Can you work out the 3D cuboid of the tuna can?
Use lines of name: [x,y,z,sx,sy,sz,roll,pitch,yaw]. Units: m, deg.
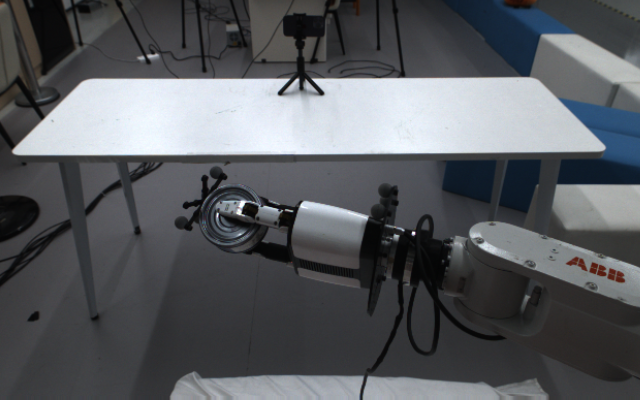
tuna can: [-0.107,0.027,0.617,0.085,0.034,0.085,-2,71,6]
